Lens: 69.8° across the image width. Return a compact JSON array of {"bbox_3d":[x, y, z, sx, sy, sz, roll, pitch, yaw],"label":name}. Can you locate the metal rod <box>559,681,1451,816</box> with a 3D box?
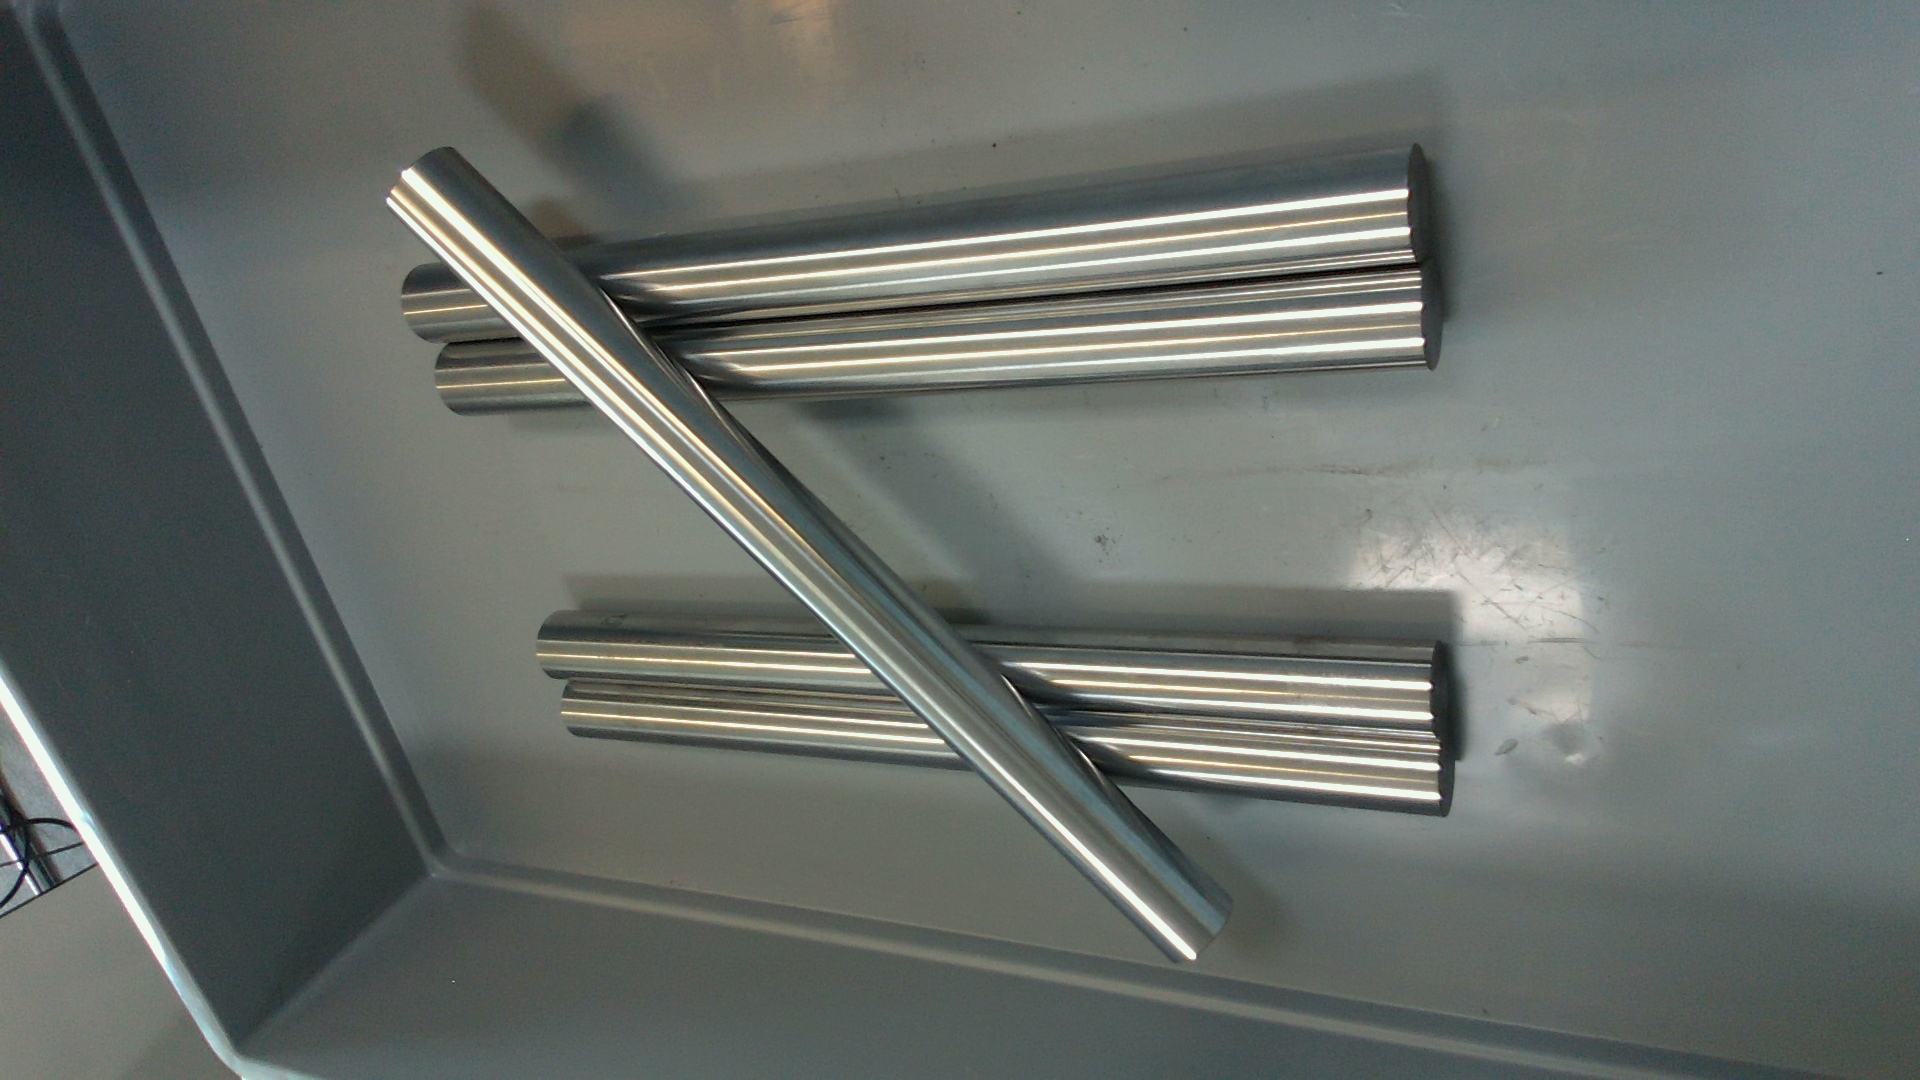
[{"bbox_3d":[-0.005,0.059,0.430,0.299,0.025,0.025,0,119,28],"label":"metal rod"}]

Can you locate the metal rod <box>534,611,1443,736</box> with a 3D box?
[{"bbox_3d":[-0.011,0.037,0.420,0.299,0.025,0.025,0,119,28],"label":"metal rod"}]

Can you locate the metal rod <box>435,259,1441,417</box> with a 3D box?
[{"bbox_3d":[-0.028,-0.051,0.374,0.299,0.025,0.025,1,119,28],"label":"metal rod"}]

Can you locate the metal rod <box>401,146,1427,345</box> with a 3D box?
[{"bbox_3d":[-0.034,-0.073,0.364,0.299,0.025,0.025,1,119,28],"label":"metal rod"}]

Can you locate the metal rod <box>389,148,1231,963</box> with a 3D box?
[{"bbox_3d":[-0.039,0.006,0.385,0.300,0.025,0.025,44,129,-3],"label":"metal rod"}]
